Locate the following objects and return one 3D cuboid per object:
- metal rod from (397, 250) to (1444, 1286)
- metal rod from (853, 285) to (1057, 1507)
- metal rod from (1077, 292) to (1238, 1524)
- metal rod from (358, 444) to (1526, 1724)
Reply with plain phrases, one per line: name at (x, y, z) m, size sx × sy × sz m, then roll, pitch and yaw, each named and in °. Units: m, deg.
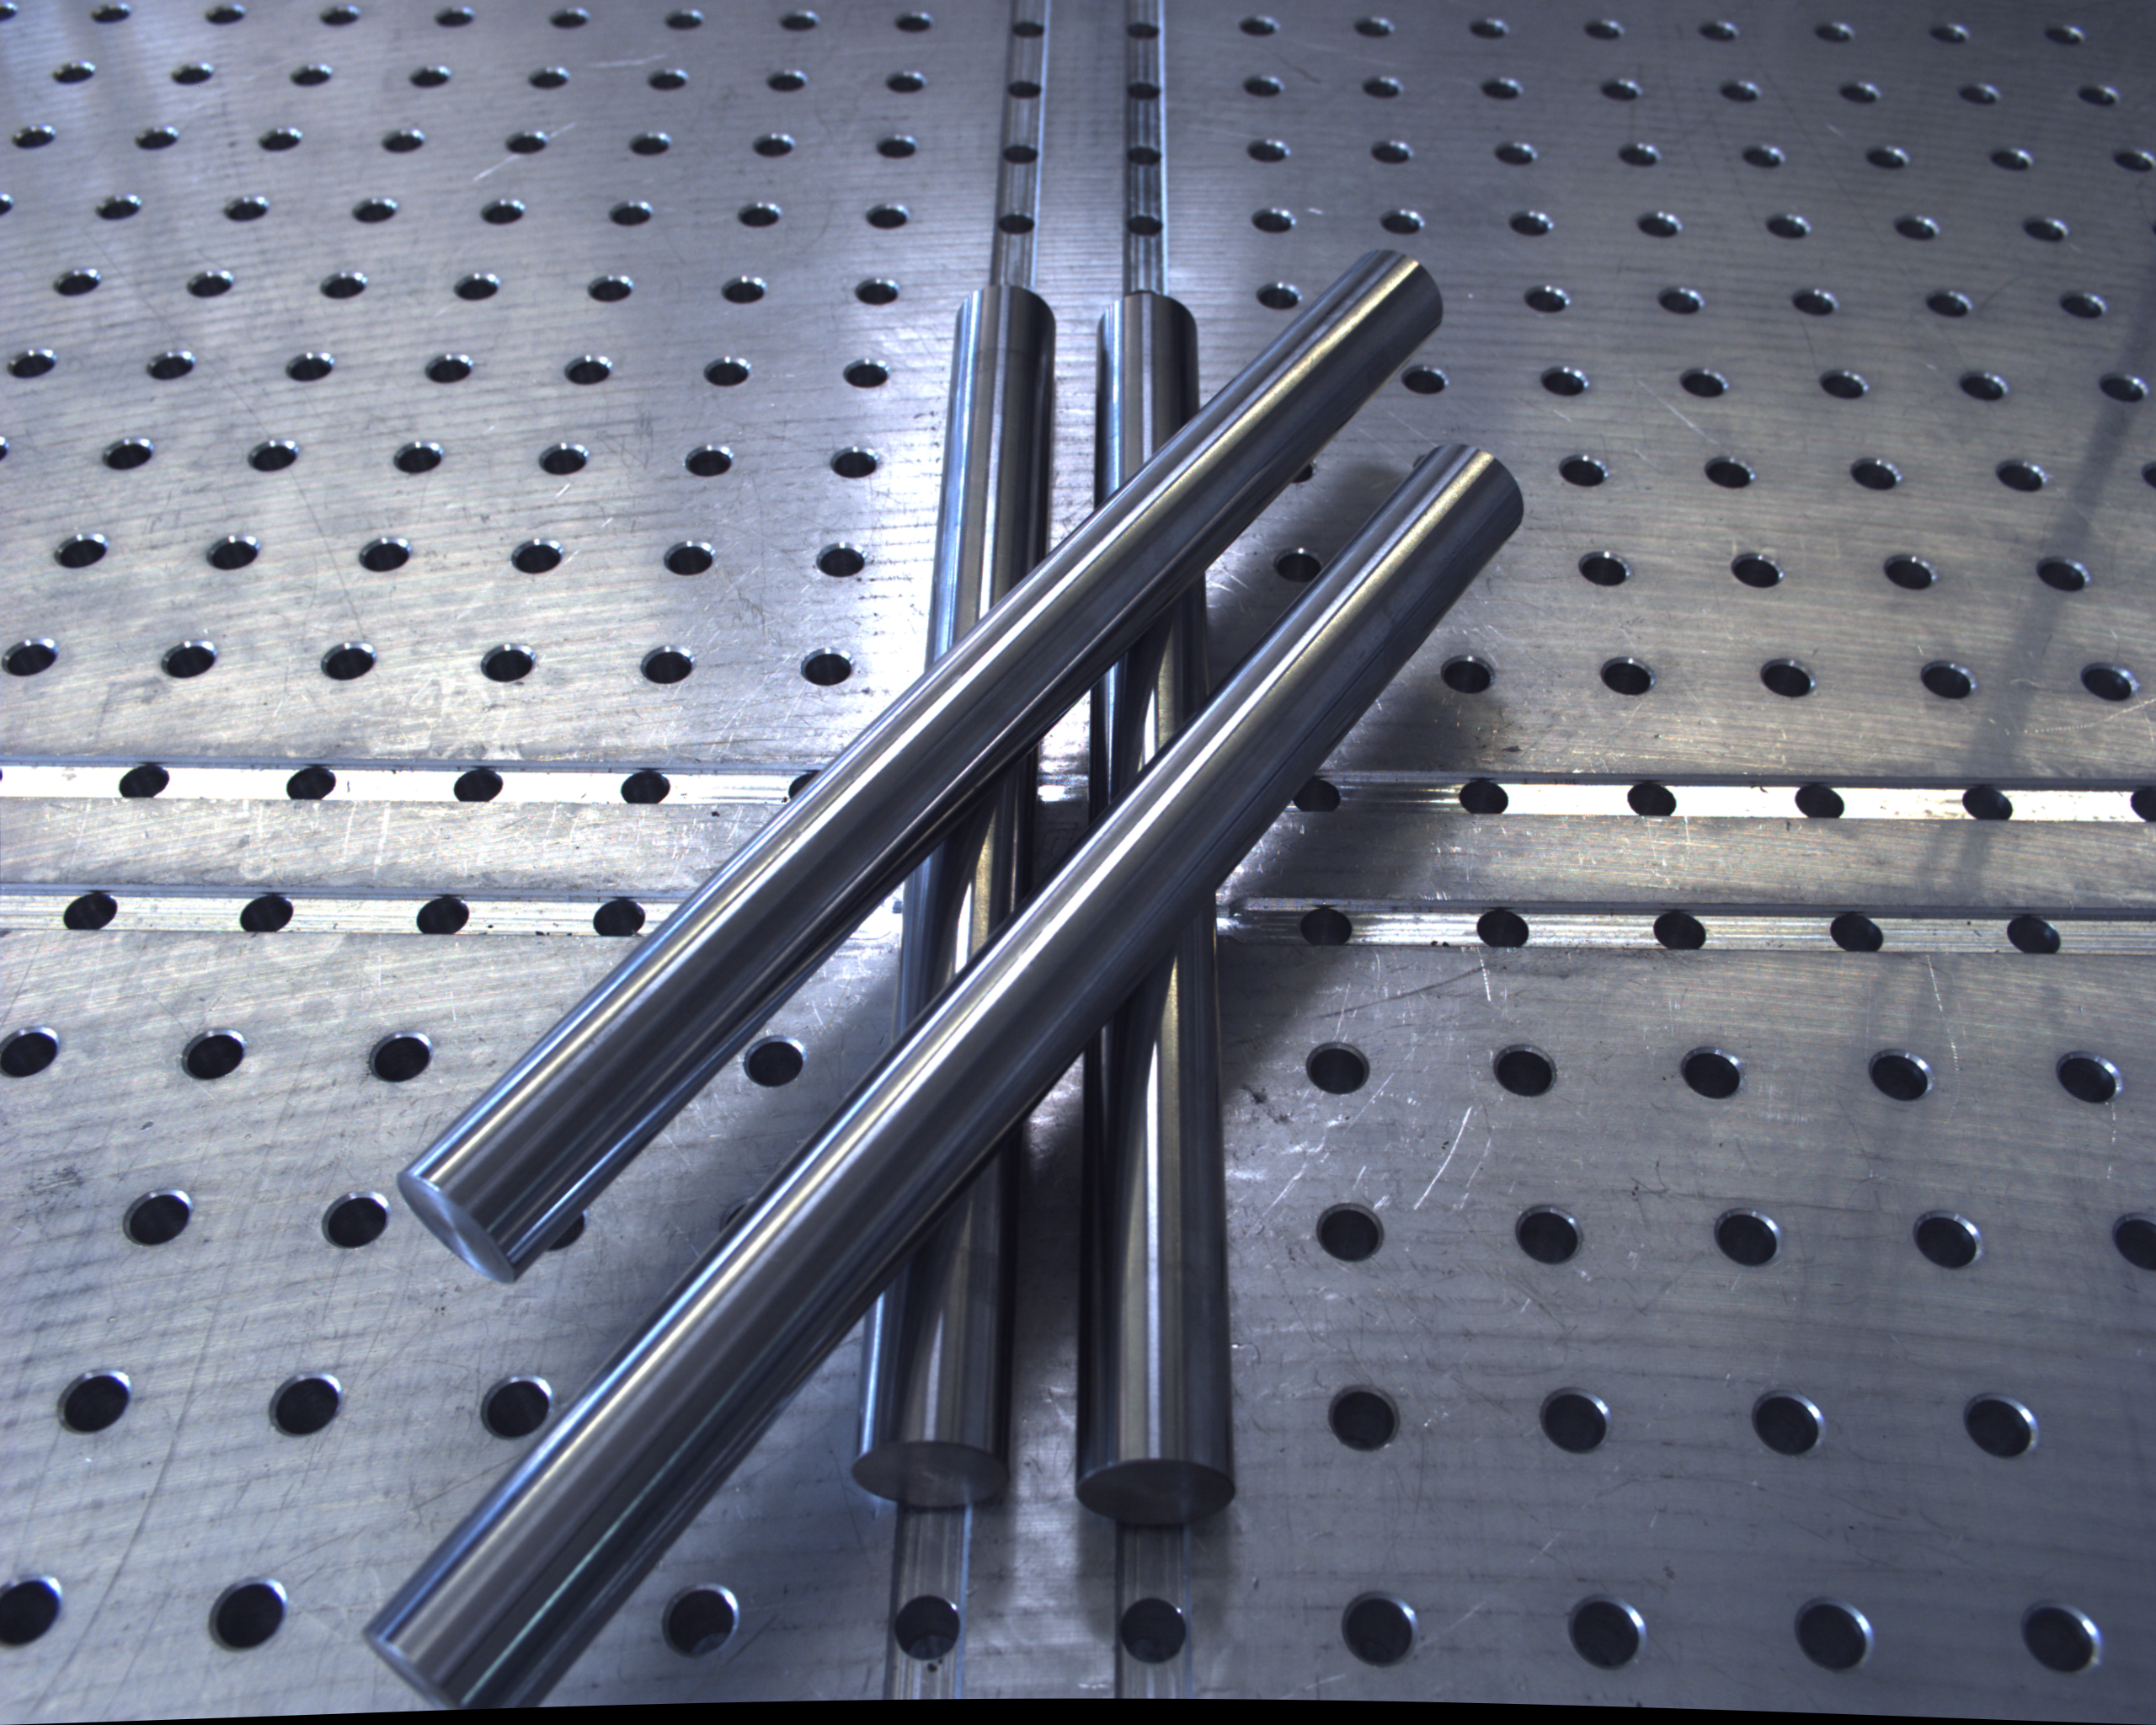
metal rod at (-0.012, -0.037, 0.407) m, size 0.025 × 0.025 × 0.301 m, roll 28°, pitch 55°, yaw 21°
metal rod at (-0.020, -0.019, 0.424) m, size 0.025 × 0.025 × 0.300 m, roll 1°, pitch 50°, yaw 1°
metal rod at (0.015, -0.016, 0.422) m, size 0.025 × 0.025 × 0.300 m, roll 1°, pitch 50°, yaw 1°
metal rod at (-0.002, 0.017, 0.361) m, size 0.025 × 0.025 × 0.301 m, roll 28°, pitch 55°, yaw 21°
